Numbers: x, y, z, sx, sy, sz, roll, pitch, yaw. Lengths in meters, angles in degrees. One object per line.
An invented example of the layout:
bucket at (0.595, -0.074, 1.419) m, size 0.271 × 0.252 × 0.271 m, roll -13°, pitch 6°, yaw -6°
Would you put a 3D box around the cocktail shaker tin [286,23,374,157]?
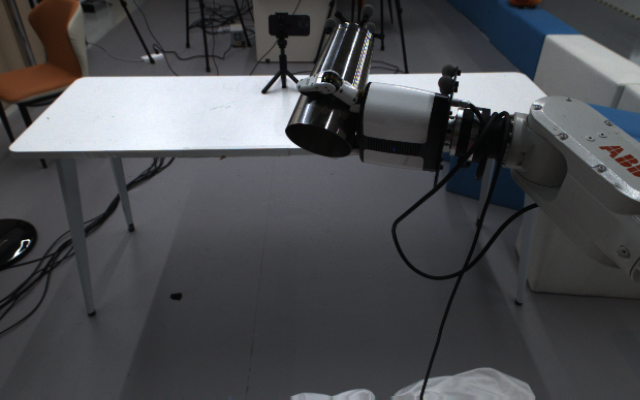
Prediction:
cocktail shaker tin at (0.020, -0.156, 0.667) m, size 0.093 × 0.093 × 0.170 m, roll 14°, pitch 72°, yaw 16°
